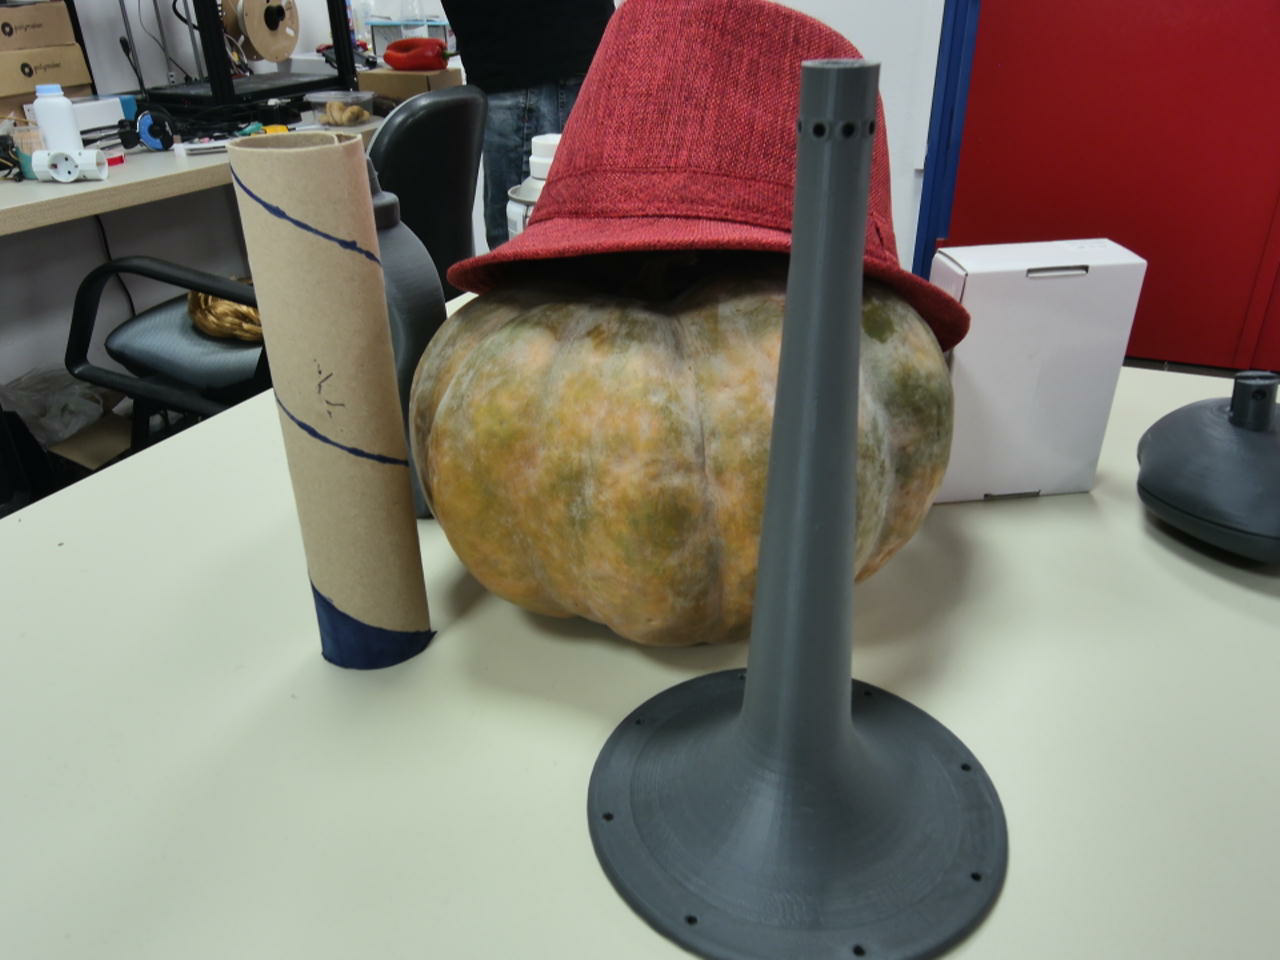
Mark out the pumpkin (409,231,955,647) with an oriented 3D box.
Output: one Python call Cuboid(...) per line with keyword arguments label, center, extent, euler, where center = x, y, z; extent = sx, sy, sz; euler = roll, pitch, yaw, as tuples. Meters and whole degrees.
Cuboid(label="pumpkin", center=(0.014, -0.028, 0.474), extent=(0.252, 0.169, 0.251), euler=(0, 25, 0))
